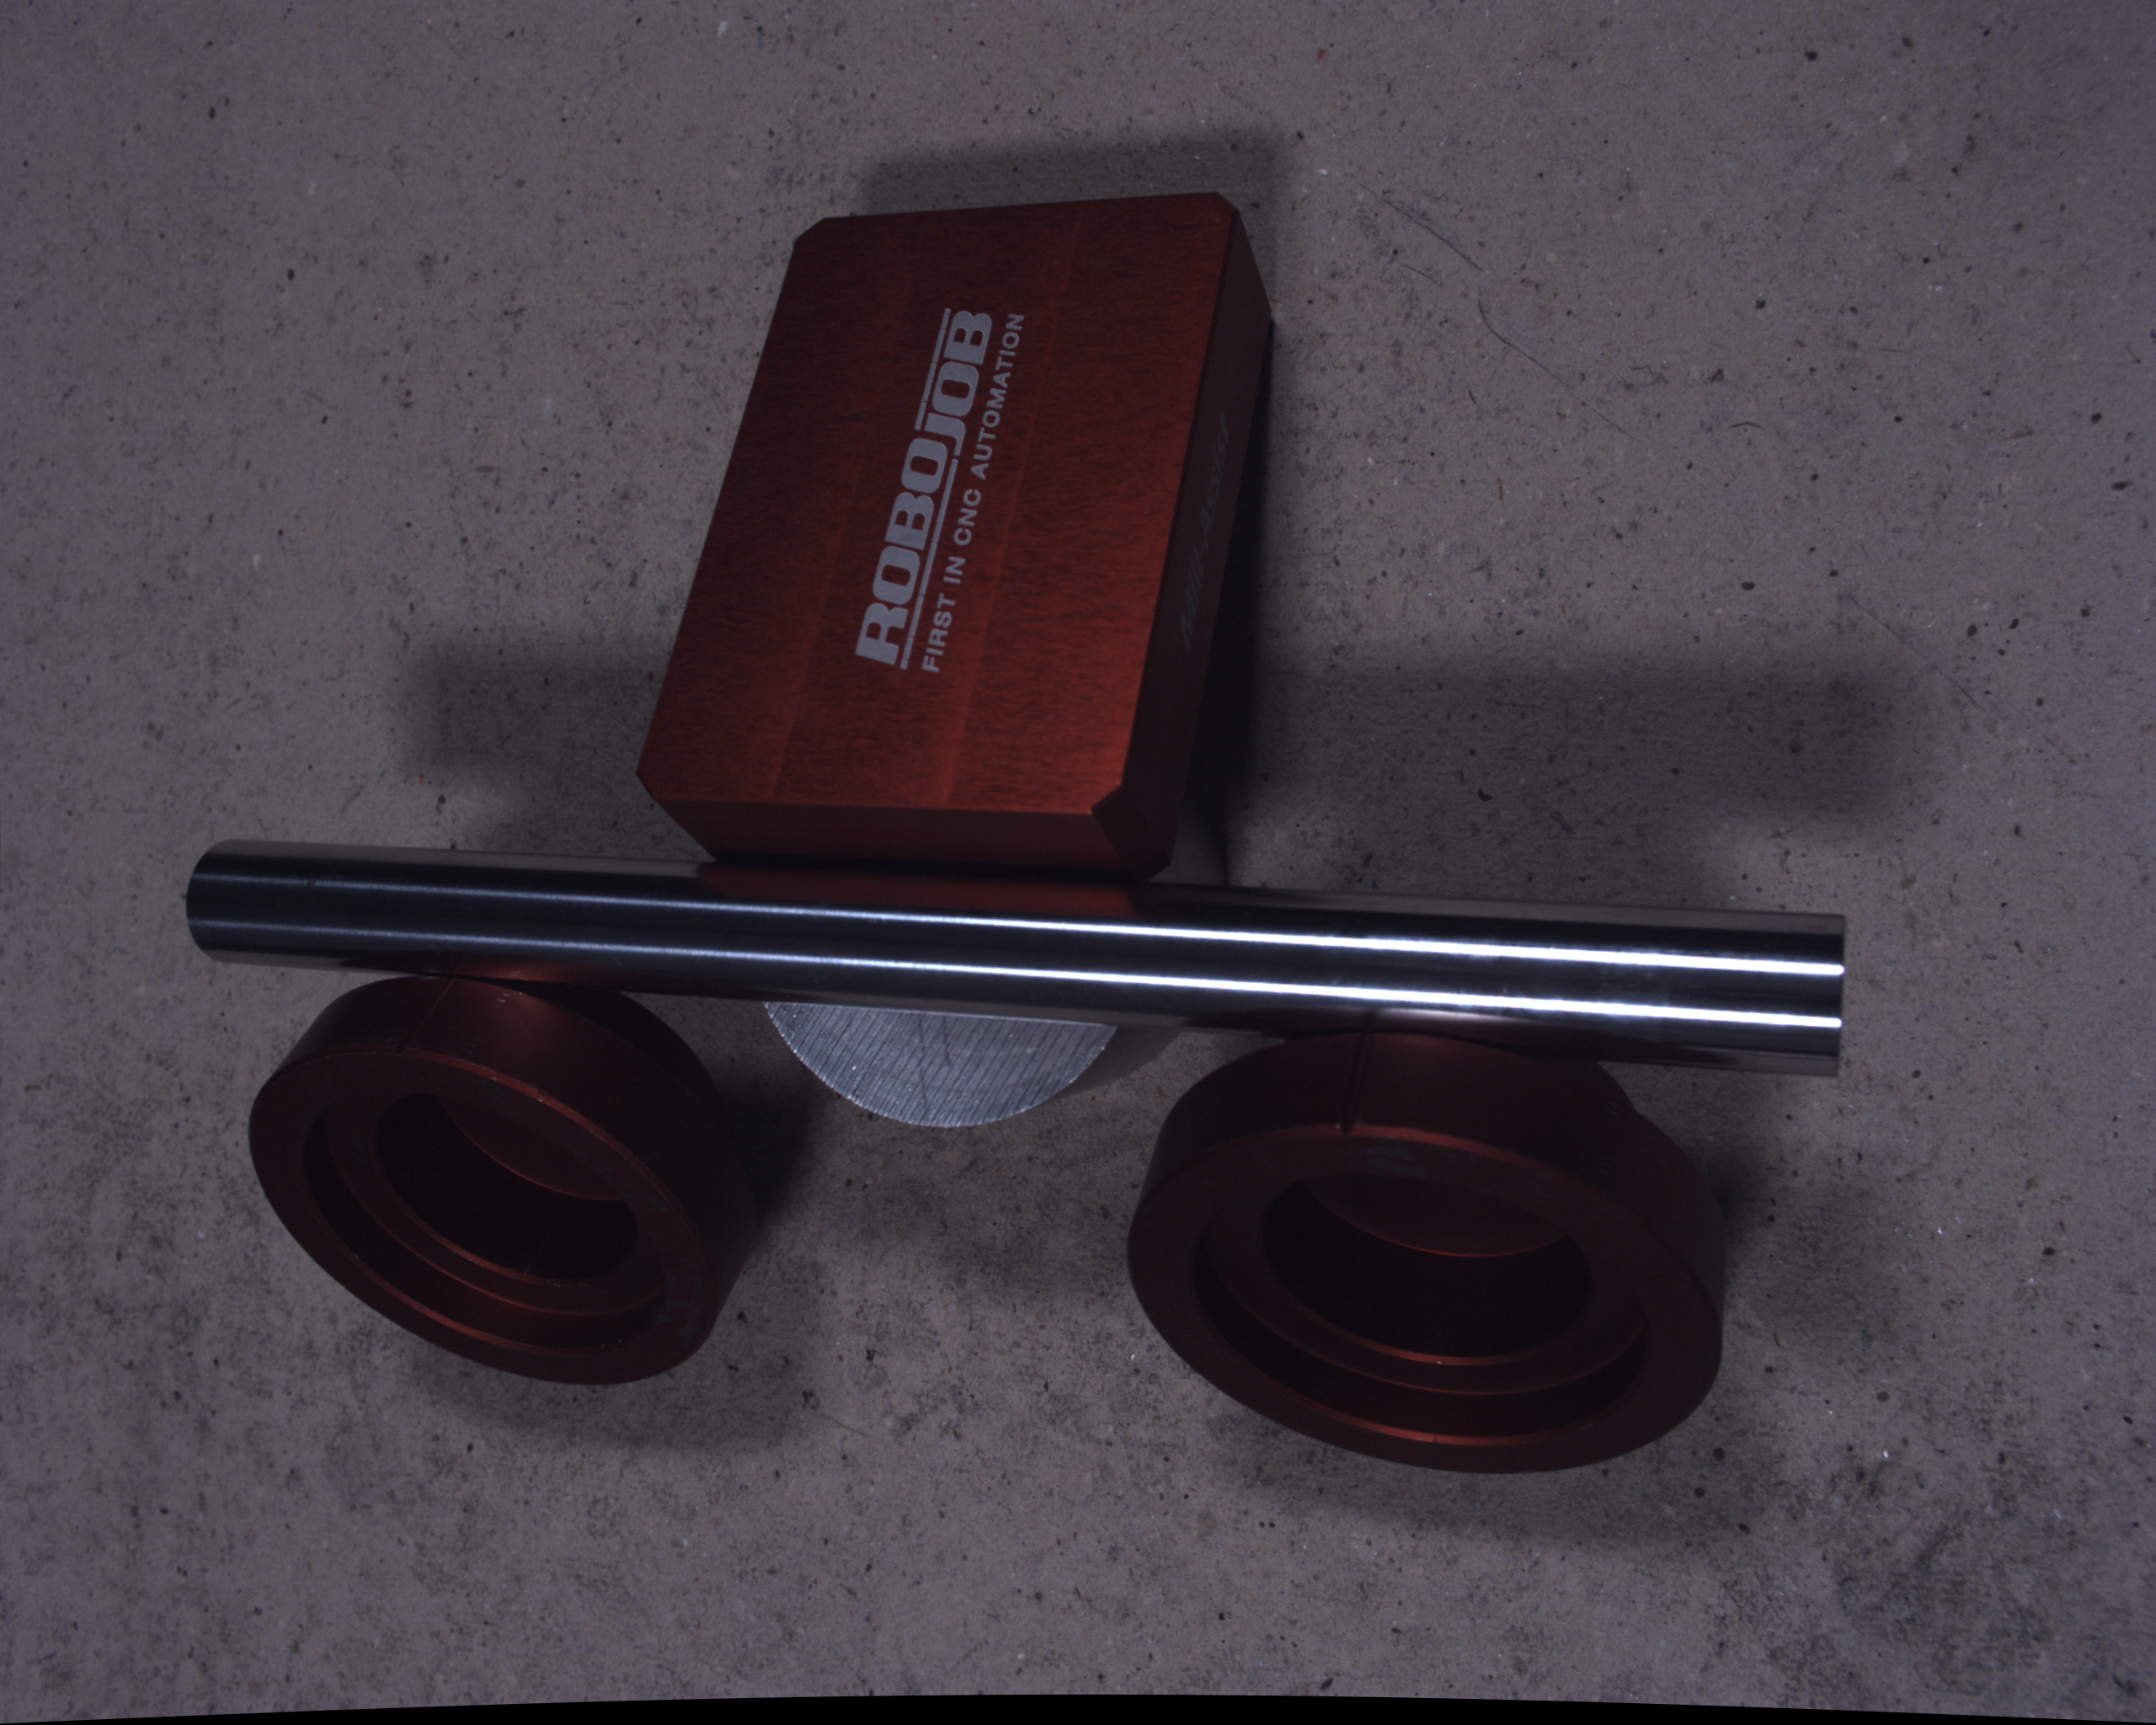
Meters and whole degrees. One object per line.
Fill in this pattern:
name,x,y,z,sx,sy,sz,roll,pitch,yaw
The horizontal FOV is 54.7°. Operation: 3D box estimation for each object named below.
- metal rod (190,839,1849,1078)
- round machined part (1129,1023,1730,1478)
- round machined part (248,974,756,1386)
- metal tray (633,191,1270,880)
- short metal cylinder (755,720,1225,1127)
metal rod,-0.026,0.014,0.366,0.301,0.025,0.025,3,91,19
round machined part,0.061,0.062,0.360,0.098,0.042,0.097,10,136,11
round machined part,-0.111,0.059,0.422,0.098,0.042,0.097,9,131,11
metal tray,-0.020,-0.062,0.385,0.090,0.030,0.130,2,65,19
short metal cylinder,-0.017,0.008,0.402,0.080,0.050,0.079,0,90,19
